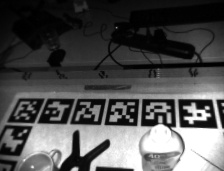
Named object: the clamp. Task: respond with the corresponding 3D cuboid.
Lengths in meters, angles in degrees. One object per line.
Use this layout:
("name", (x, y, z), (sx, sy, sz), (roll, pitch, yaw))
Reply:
("clamp", (-0.090, 0.197, 0.588), (0.120, 0.037, 0.165), (16, 58, 21))

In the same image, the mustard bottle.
("mustard bottle", (0.105, 0.138, 0.487), (0.096, 0.193, 0.058), (-6, 50, 9))

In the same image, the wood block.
("wood block", (0.143, 0.252, 0.458), (0.088, 0.092, 0.207), (31, 61, 34))

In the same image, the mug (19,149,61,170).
("mug", (-0.176, 0.227, 0.574), (0.092, 0.082, 0.117), (18, 58, 25))
